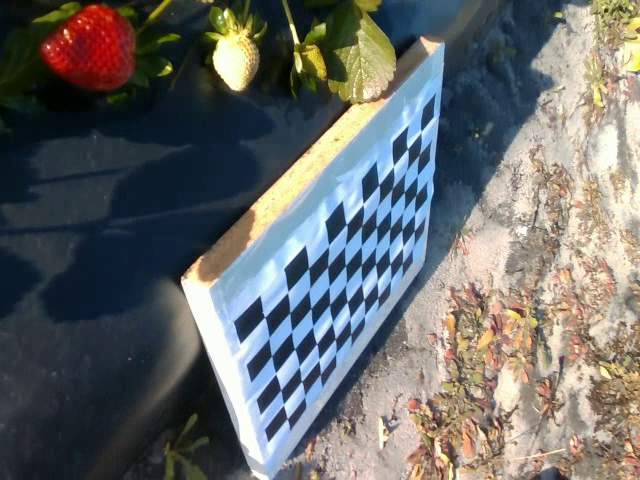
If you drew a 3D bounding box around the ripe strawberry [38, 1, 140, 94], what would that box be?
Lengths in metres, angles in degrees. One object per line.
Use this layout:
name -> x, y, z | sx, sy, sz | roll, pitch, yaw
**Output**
ripe strawberry -> -0.094, -0.077, 0.242 | 0.036, 0.044, 0.053 | 21, 27, 17
